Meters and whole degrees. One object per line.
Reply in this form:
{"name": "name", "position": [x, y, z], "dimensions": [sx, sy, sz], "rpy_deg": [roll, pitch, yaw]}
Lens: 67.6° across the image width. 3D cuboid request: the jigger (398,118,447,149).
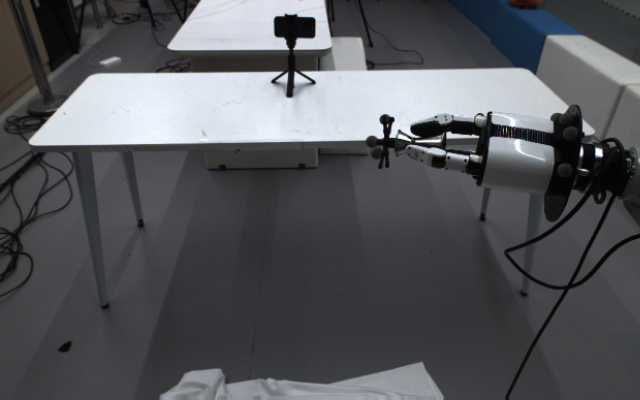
{"name": "jigger", "position": [0.153, -0.087, 0.707], "dimensions": [0.071, 0.043, 0.043], "rpy_deg": [5, 34, 21]}
